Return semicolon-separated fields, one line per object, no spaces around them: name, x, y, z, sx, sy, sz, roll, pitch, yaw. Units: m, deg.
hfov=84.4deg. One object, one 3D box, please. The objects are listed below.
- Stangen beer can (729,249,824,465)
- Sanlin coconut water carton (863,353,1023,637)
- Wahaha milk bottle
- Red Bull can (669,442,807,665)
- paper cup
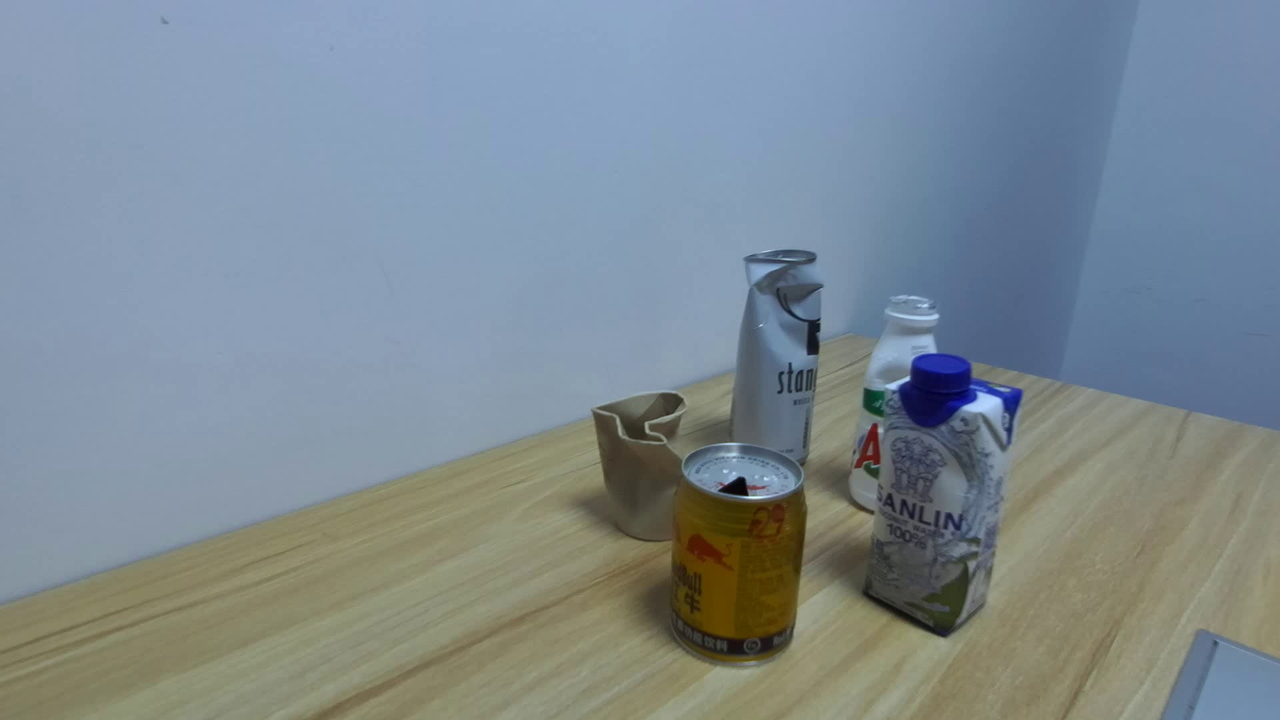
Stangen beer can;0.103;0.000;0.544;0.066;0.166;0.066;-4;19;-9
Sanlin coconut water carton;0.159;0.066;0.378;0.061;0.144;0.060;-13;22;-41
Wahaha milk bottle;0.185;0.027;0.493;0.055;0.149;0.055;-5;27;3
Red Bull can;0.048;0.096;0.357;0.067;0.093;0.067;2;19;0
paper cup;0.012;0.071;0.457;0.067;0.083;0.058;-15;26;-34
